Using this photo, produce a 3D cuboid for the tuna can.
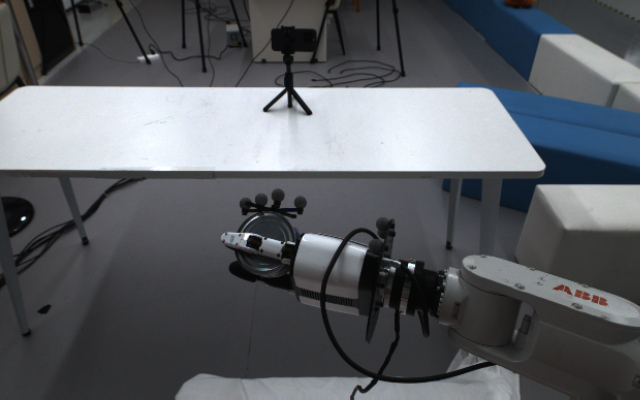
[{"bbox_3d":[-0.068,0.060,0.645,0.085,0.034,0.085,-5,72,14],"label":"tuna can"}]
